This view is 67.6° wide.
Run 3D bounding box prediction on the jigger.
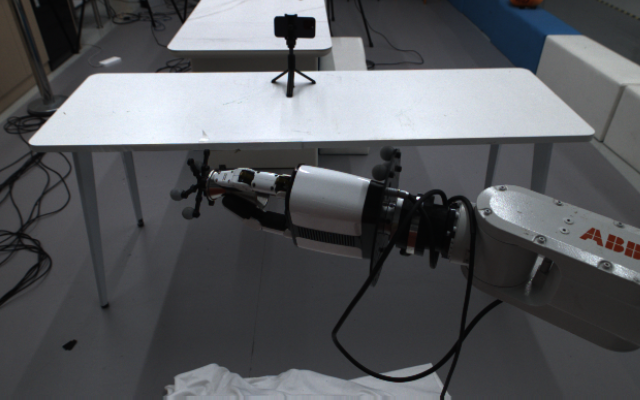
[{"bbox_3d":[-0.095,-0.019,0.598,0.071,0.043,0.043,8,35,15],"label":"jigger"}]
